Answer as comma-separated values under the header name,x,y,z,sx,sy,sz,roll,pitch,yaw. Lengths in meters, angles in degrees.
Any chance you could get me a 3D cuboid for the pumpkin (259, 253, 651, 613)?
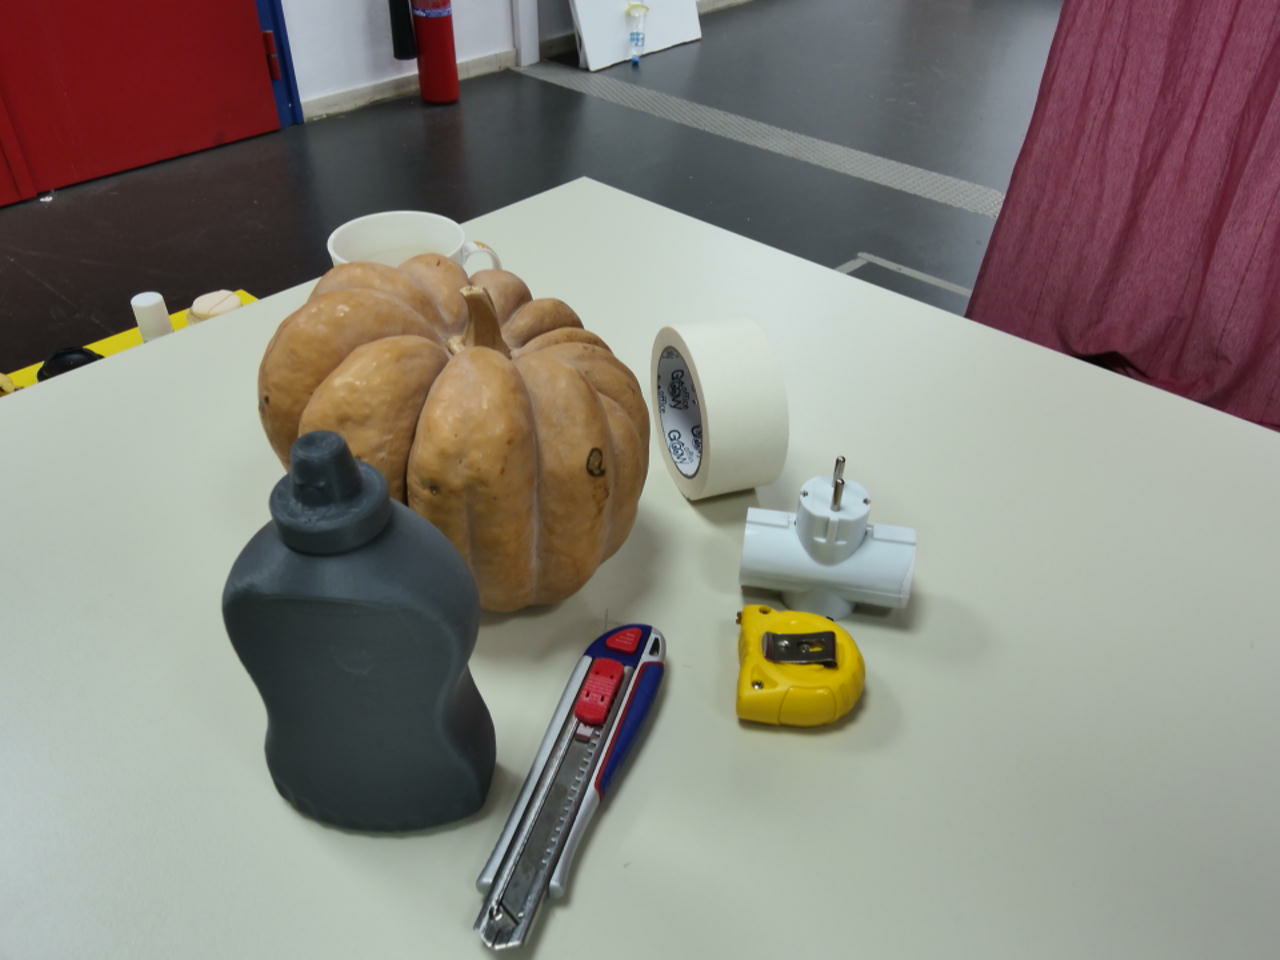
name,x,y,z,sx,sy,sz,roll,pitch,yaw
pumpkin,-0.092,-0.022,0.519,0.199,0.177,0.198,1,37,-1
